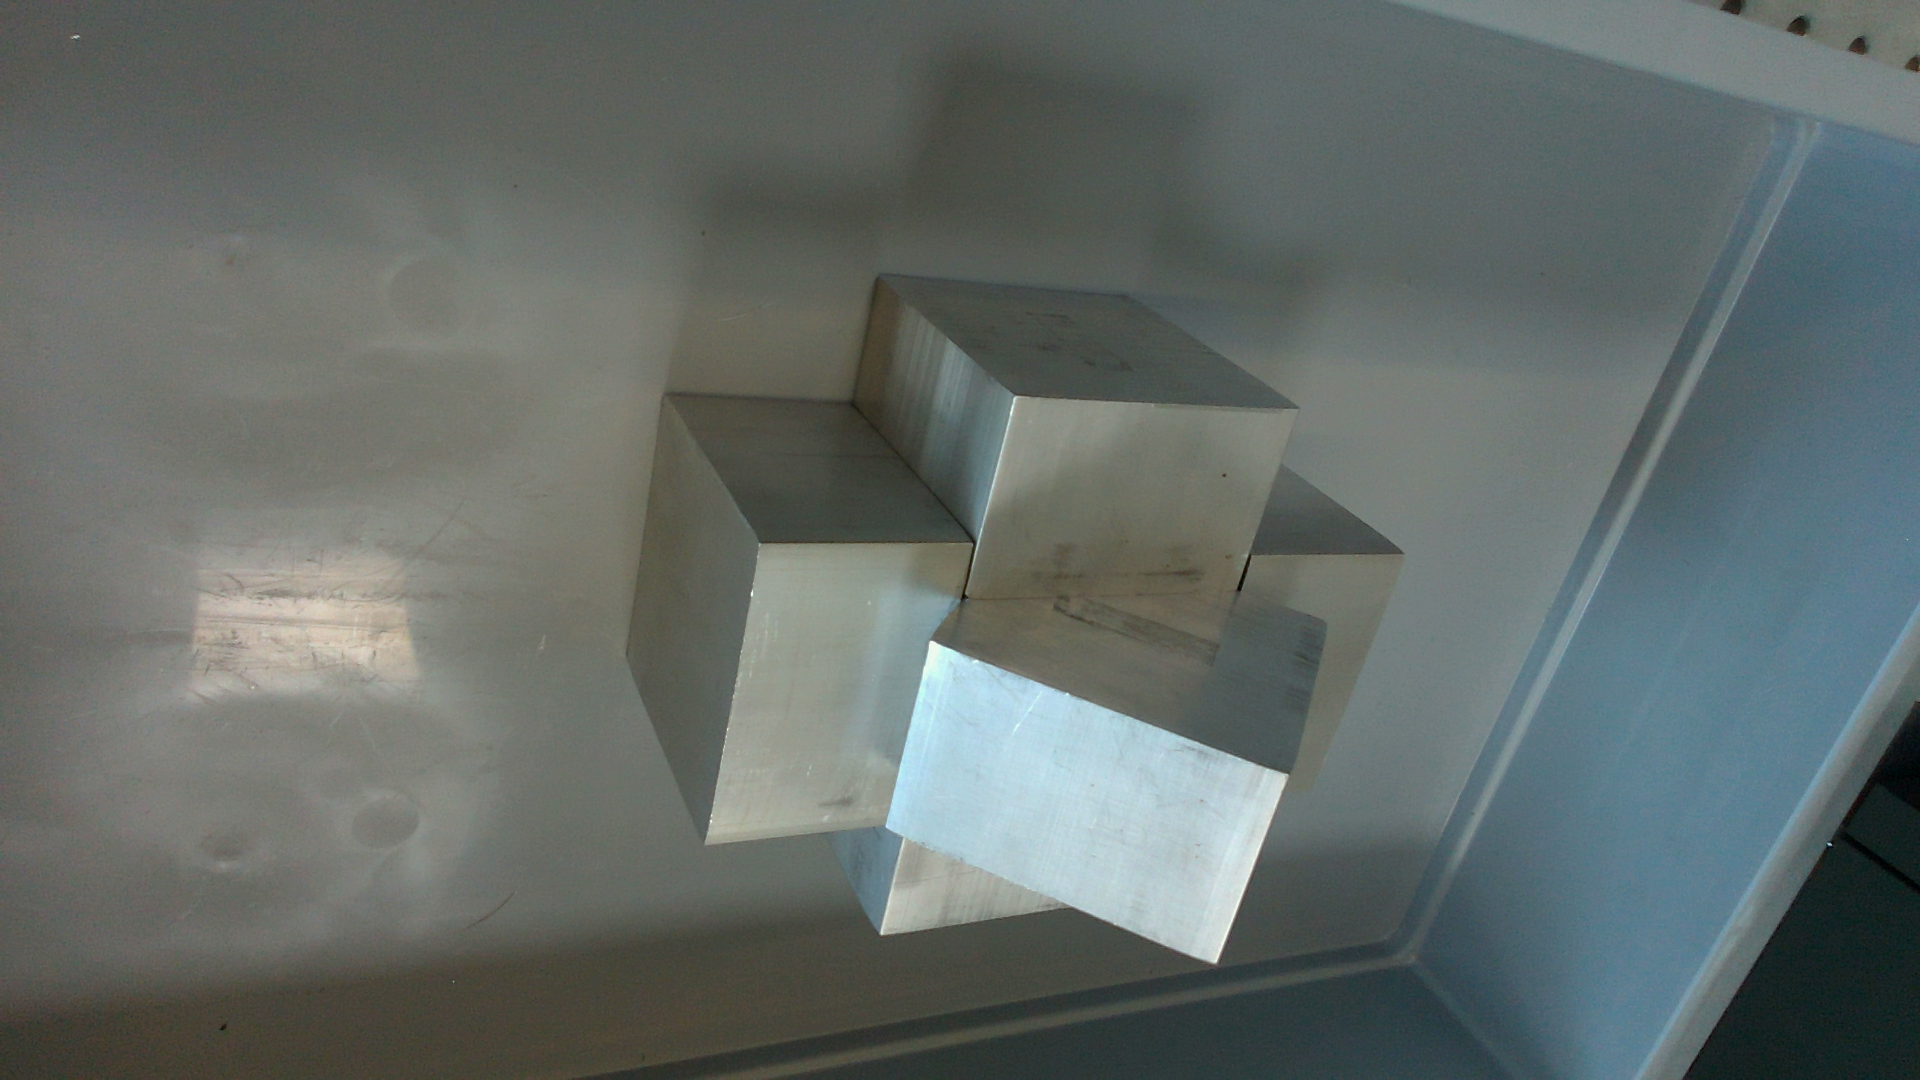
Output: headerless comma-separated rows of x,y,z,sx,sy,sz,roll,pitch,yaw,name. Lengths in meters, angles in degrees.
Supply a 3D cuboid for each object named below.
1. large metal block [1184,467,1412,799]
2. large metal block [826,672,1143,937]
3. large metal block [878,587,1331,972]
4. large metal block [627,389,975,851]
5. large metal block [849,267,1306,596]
0.073,0.020,0.402,0.050,0.080,0.080,0,119,-29,large metal block
0.003,0.060,0.391,0.080,0.080,0.050,0,119,-28,large metal block
0.037,0.043,0.326,0.080,0.080,0.050,-46,153,-62,large metal block
-0.044,0.017,0.340,0.050,0.080,0.080,0,119,-28,large metal block
0.025,-0.029,0.349,0.080,0.080,0.050,0,119,-28,large metal block
